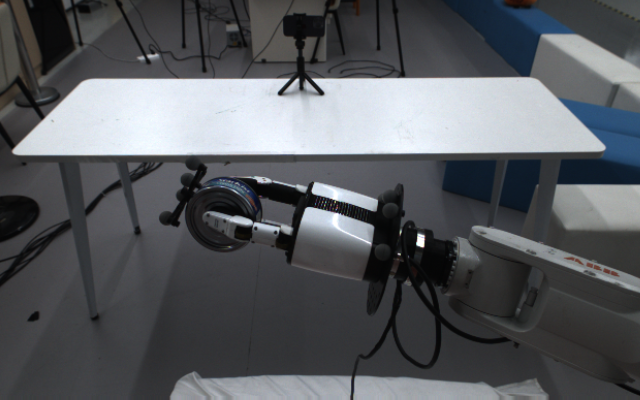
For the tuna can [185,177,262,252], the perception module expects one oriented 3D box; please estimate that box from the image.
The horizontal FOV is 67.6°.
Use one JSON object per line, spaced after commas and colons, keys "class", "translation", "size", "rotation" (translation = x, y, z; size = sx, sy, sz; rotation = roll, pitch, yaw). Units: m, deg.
{"class": "tuna can", "translation": [-0.109, 0.022, 0.568], "size": [0.085, 0.085, 0.034], "rotation": [4, 21, 2]}
